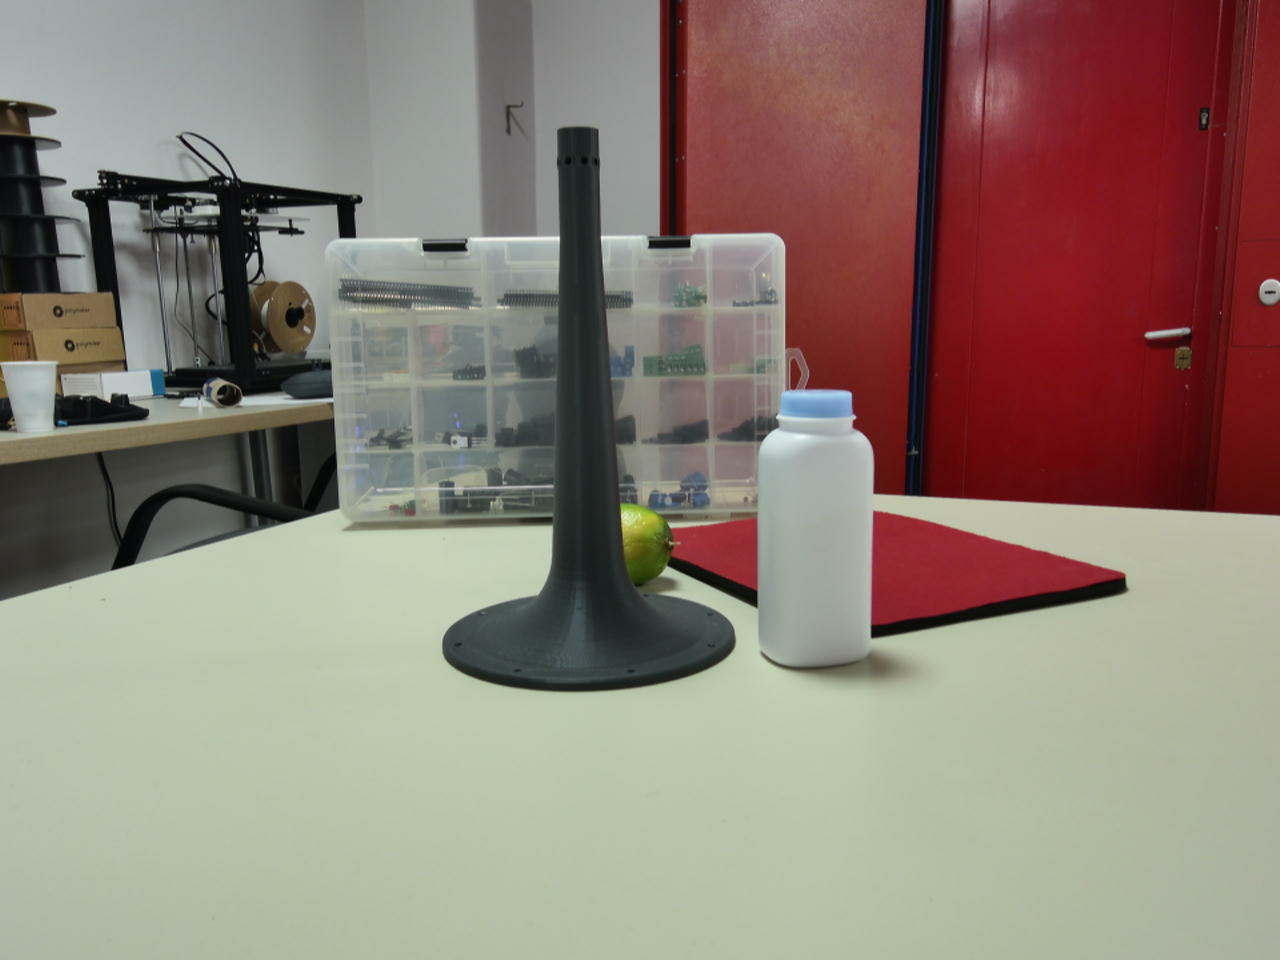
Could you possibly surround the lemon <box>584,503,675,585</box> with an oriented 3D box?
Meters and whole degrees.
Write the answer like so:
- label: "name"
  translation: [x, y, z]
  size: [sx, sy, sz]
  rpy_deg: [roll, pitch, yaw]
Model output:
- label: "lemon"
  translation: [-0.007, 0.040, 0.628]
  size: [0.054, 0.050, 0.055]
  rpy_deg: [-3, 8, -17]
